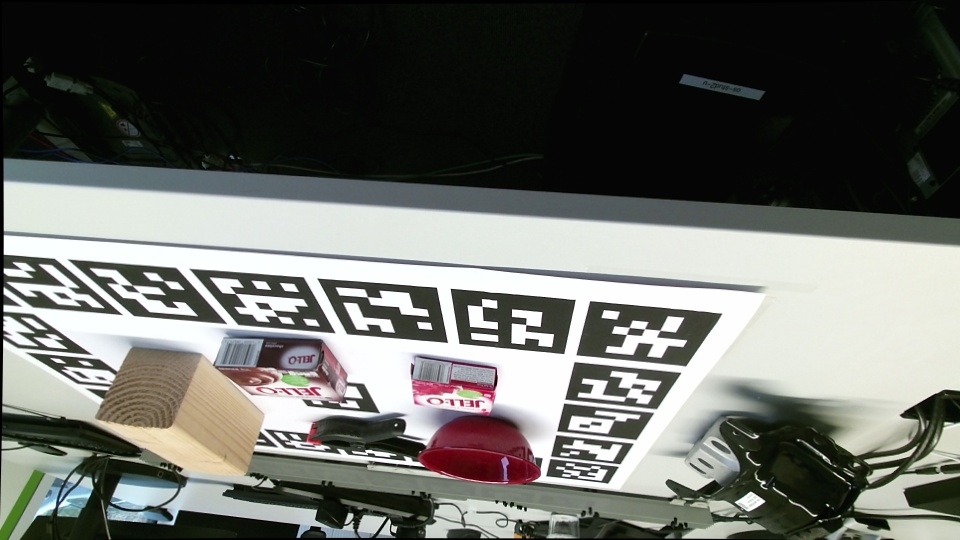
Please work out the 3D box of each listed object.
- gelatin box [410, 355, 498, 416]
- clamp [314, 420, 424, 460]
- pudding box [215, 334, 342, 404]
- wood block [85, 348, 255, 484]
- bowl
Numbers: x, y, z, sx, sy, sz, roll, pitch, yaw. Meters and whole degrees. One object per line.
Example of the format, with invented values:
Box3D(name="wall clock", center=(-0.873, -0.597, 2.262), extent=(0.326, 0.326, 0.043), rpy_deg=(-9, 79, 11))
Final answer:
Box3D(name="gelatin box", center=(-0.030, 0.127, 0.575), extent=(0.090, 0.030, 0.073), rpy_deg=(9, 141, -1))
Box3D(name="clamp", center=(-0.159, 0.242, 0.761), extent=(0.165, 0.036, 0.122), rpy_deg=(-1, 142, 15))
Box3D(name="pudding box", center=(-0.216, 0.109, 0.581), extent=(0.114, 0.038, 0.090), rpy_deg=(2, 139, 4))
Box3D(name="wood block", center=(-0.374, 0.189, 0.672), extent=(0.090, 0.090, 0.206), rpy_deg=(6, 143, 4))
Box3D(name="bowl", center=(0.000, 0.236, 0.706), extent=(0.162, 0.055, 0.162), rpy_deg=(6, 140, 5))
